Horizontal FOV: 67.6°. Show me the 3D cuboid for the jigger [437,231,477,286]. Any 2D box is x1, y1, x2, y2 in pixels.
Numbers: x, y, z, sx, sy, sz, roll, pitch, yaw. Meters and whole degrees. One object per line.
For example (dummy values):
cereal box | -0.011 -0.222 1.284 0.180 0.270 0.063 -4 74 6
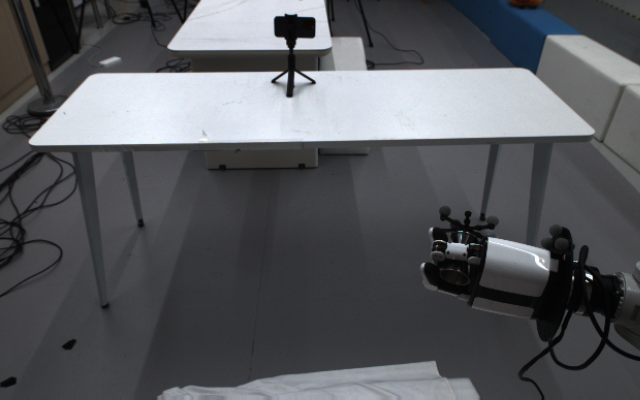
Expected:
jigger | 0.206 0.083 0.705 0.043 0.043 0.071 13 58 15
